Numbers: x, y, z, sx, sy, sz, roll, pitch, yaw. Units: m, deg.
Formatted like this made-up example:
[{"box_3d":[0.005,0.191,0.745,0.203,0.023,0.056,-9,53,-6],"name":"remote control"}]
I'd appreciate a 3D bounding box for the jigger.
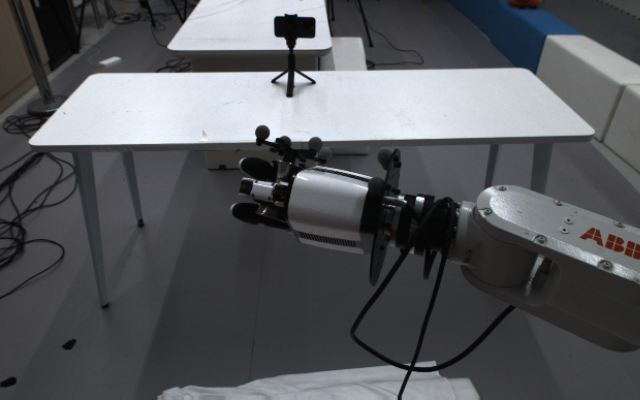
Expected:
[{"box_3d":[-0.045,-0.010,0.585,0.043,0.071,0.043,15,-7,2],"name":"jigger"}]
